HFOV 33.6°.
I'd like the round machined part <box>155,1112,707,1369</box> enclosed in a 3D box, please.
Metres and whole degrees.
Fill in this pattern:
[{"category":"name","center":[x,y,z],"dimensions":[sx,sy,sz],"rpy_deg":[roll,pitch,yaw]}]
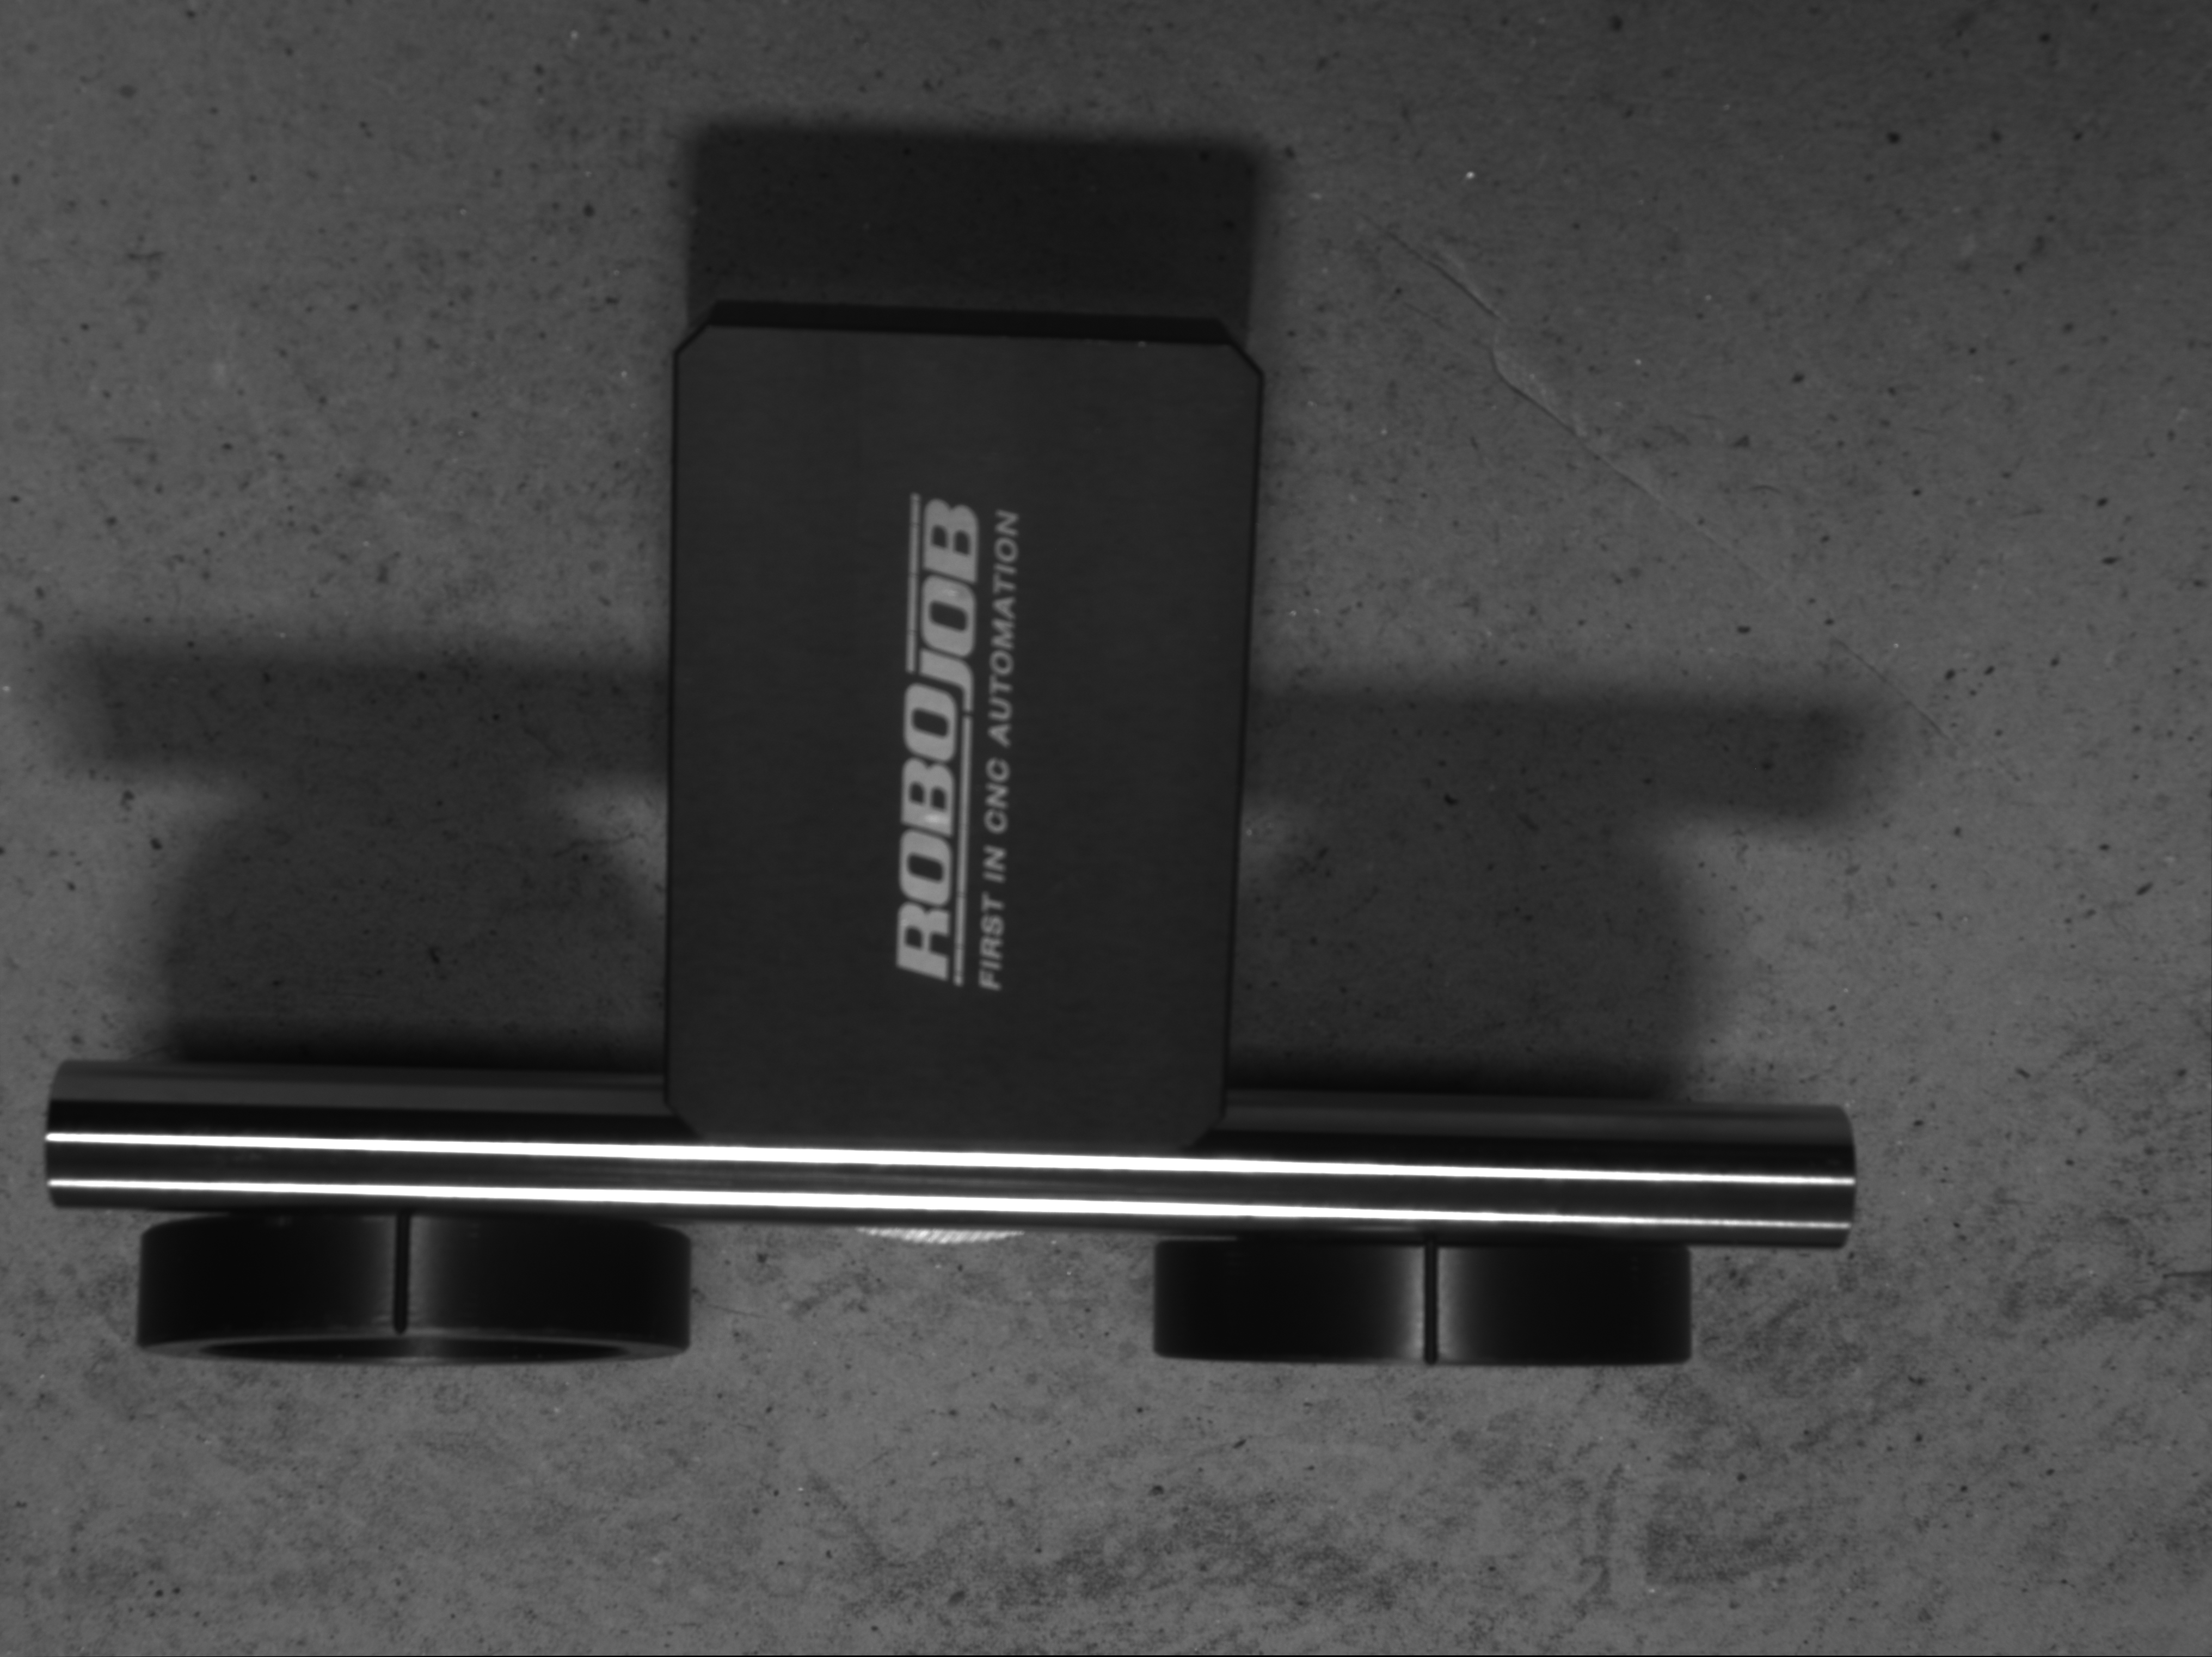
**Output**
[{"category":"round machined part","center":[-0.121,0.074,0.665],"dimensions":[0.098,0.042,0.098],"rpy_deg":[-1,168,0]}]

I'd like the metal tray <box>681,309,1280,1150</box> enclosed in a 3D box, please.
[{"category":"metal tray","center":[-0.021,-0.016,0.586],"dimensions":[0.090,0.030,0.130],"rpy_deg":[2,104,-3]}]

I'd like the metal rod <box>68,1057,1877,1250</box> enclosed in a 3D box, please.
[{"category":"metal rod","center":[-0.021,0.055,0.620],"dimensions":[0.300,0.025,0.025],"rpy_deg":[2,130,-3]}]

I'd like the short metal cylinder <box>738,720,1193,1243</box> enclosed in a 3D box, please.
[{"category":"short metal cylinder","center":[-0.026,0.027,0.645],"dimensions":[0.080,0.050,0.080],"rpy_deg":[-1,130,-1]}]

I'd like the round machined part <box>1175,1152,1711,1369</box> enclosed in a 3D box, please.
[{"category":"round machined part","center":[0.061,0.077,0.671],"dimensions":[0.098,0.042,0.098],"rpy_deg":[0,172,0]}]
